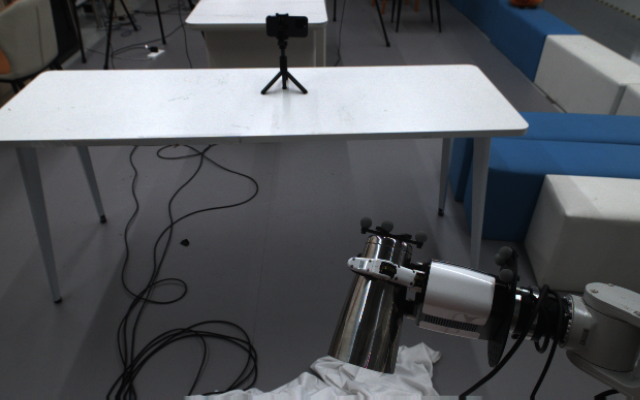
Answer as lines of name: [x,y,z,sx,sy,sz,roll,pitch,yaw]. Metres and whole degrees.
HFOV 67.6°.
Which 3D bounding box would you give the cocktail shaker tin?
cocktail shaker tin: [0.080,0.137,0.668,0.093,0.093,0.170,13,78,15]
